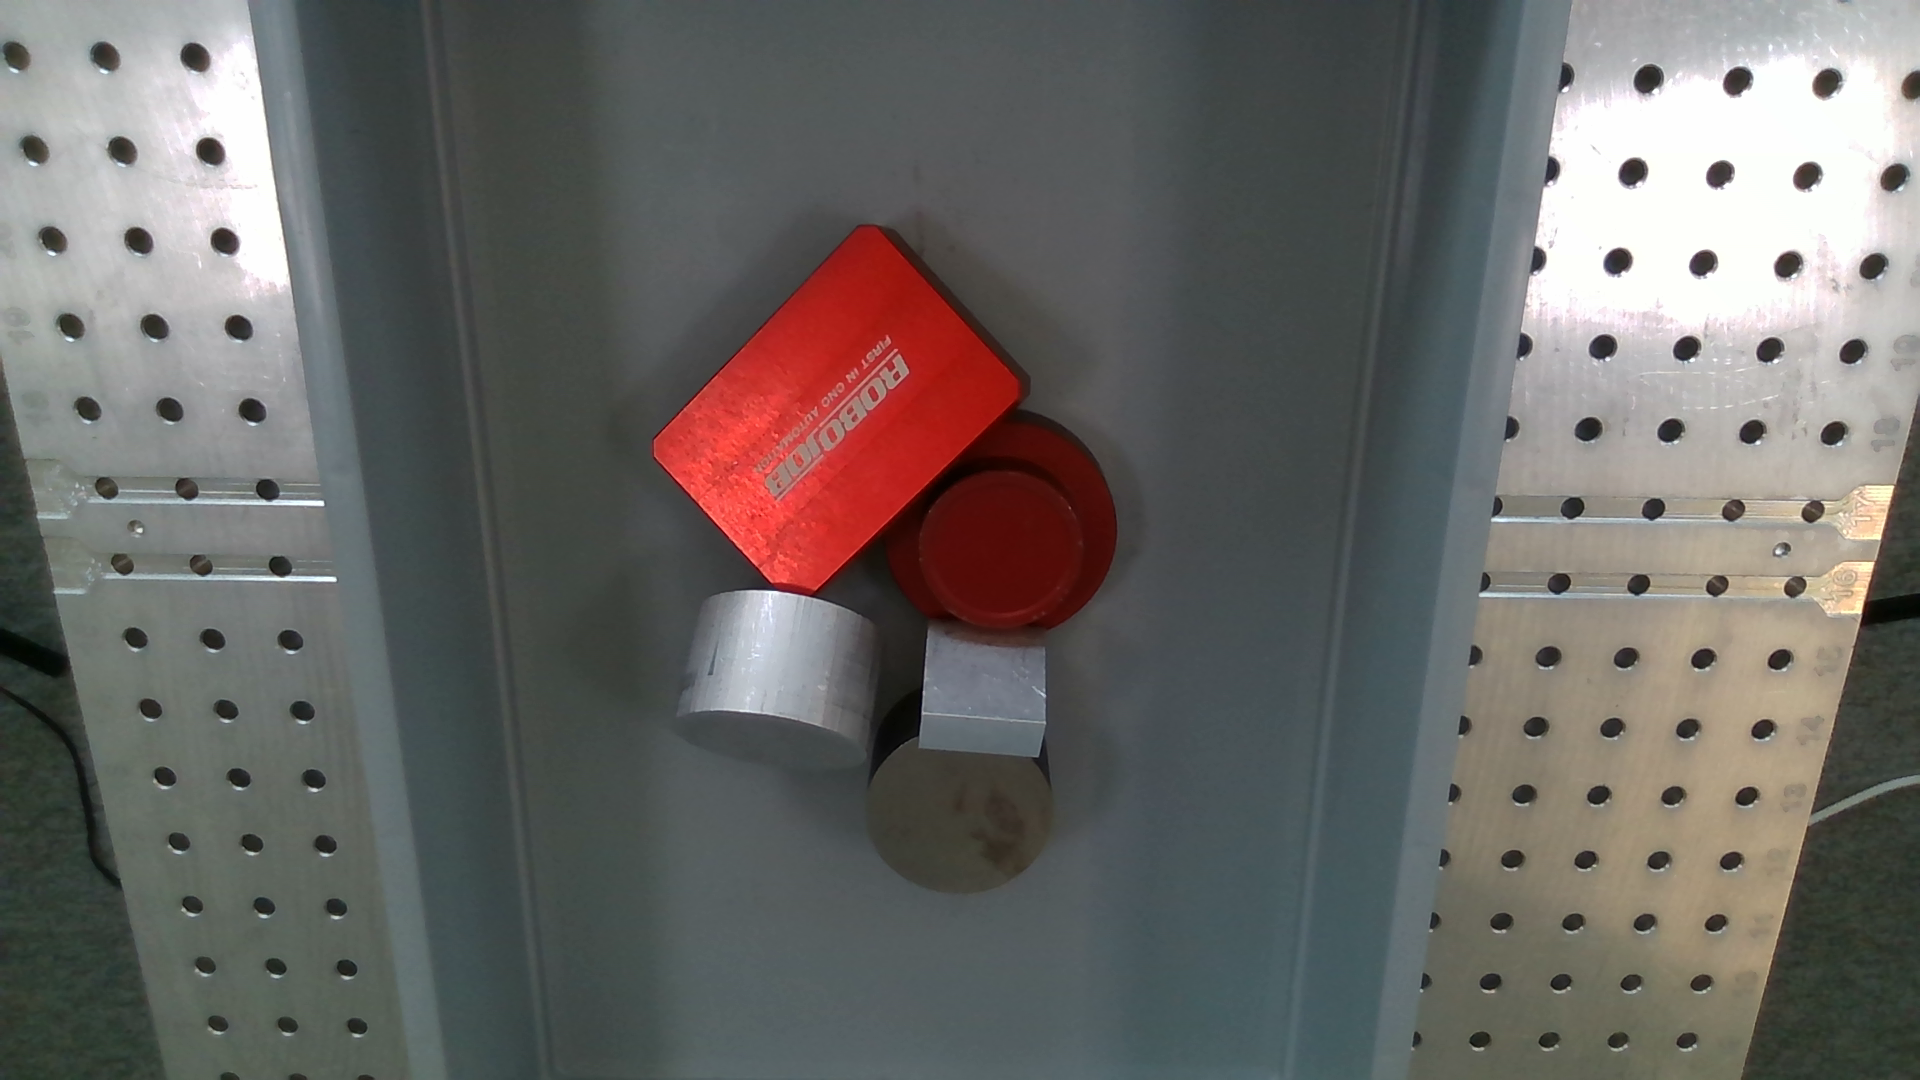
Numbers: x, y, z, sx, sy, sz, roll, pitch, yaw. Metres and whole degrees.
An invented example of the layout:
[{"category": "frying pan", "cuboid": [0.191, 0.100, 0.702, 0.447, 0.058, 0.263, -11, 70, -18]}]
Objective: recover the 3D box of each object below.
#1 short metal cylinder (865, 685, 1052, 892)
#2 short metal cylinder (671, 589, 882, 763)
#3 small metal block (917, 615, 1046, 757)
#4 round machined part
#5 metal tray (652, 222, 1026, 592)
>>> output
[{"category": "short metal cylinder", "cuboid": [-0.001, 0.108, 0.611, 0.080, 0.050, 0.080, 0, 110, 0]}, {"category": "short metal cylinder", "cuboid": [-0.075, 0.059, 0.570, 0.080, 0.080, 0.050, 9, 67, -3]}, {"category": "small metal block", "cuboid": [0.009, 0.061, 0.573, 0.050, 0.050, 0.025, 5, 138, -3]}, {"category": "round machined part", "cuboid": [0.017, -0.003, 0.573, 0.098, 0.042, 0.098, 0, 110, 0]}, {"category": "metal tray", "cuboid": [-0.048, -0.050, 0.550, 0.130, 0.030, 0.090, -43, 89, 14]}]
